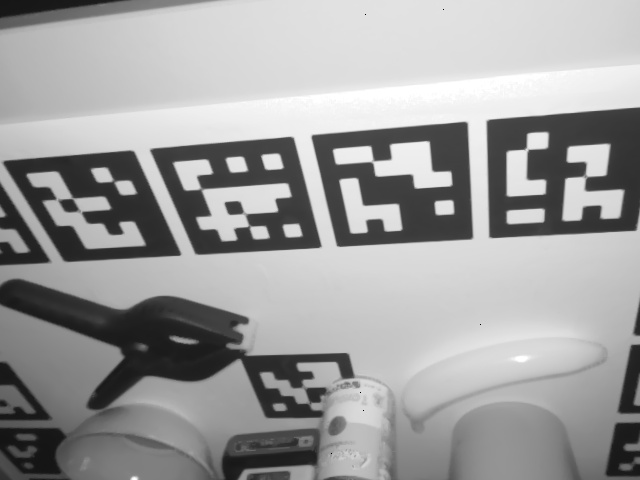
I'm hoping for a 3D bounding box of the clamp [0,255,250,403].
[{"bbox_3d":[-0.155,0.068,0.569,0.201,0.037,0.164,-9,124,12],"label":"clamp"}]

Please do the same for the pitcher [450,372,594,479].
[{"bbox_3d":[0.155,0.235,0.551,0.186,0.245,0.134,-27,124,26],"label":"pitcher"}]

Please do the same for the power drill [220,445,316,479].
[{"bbox_3d":[-0.068,0.283,0.622,0.183,0.189,0.057,-10,127,15],"label":"power drill"}]

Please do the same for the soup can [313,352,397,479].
[{"bbox_3d":[0.031,0.156,0.591,0.068,0.103,0.067,2,137,2],"label":"soup can"}]

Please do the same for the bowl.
[{"bbox_3d":[-0.179,0.197,0.673,0.161,0.056,0.160,2,128,4],"label":"bowl"}]

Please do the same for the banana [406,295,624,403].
[{"bbox_3d":[0.144,0.083,0.564,0.194,0.039,0.074,-28,130,27],"label":"banana"}]
